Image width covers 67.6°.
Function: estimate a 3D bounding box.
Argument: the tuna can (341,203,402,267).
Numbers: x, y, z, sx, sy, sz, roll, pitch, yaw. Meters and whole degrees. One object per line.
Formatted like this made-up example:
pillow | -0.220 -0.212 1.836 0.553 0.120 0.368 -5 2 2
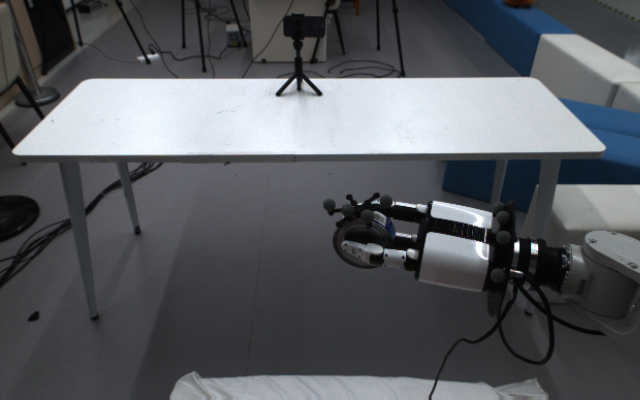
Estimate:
tuna can | 0.065 0.053 0.684 0.085 0.085 0.034 10 33 11
